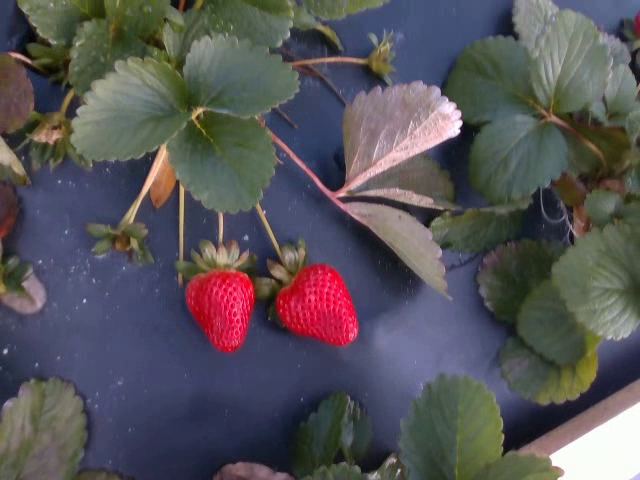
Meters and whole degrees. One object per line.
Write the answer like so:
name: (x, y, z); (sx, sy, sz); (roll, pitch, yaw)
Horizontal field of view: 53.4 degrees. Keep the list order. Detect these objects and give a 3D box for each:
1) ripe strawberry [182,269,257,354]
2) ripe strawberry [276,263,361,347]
ripe strawberry: (-0.060, 0.044, 0.392); (0.049, 0.055, 0.041); (-9, -20, -15)
ripe strawberry: (0.002, 0.044, 0.402); (0.064, 0.058, 0.051); (42, -12, 20)
